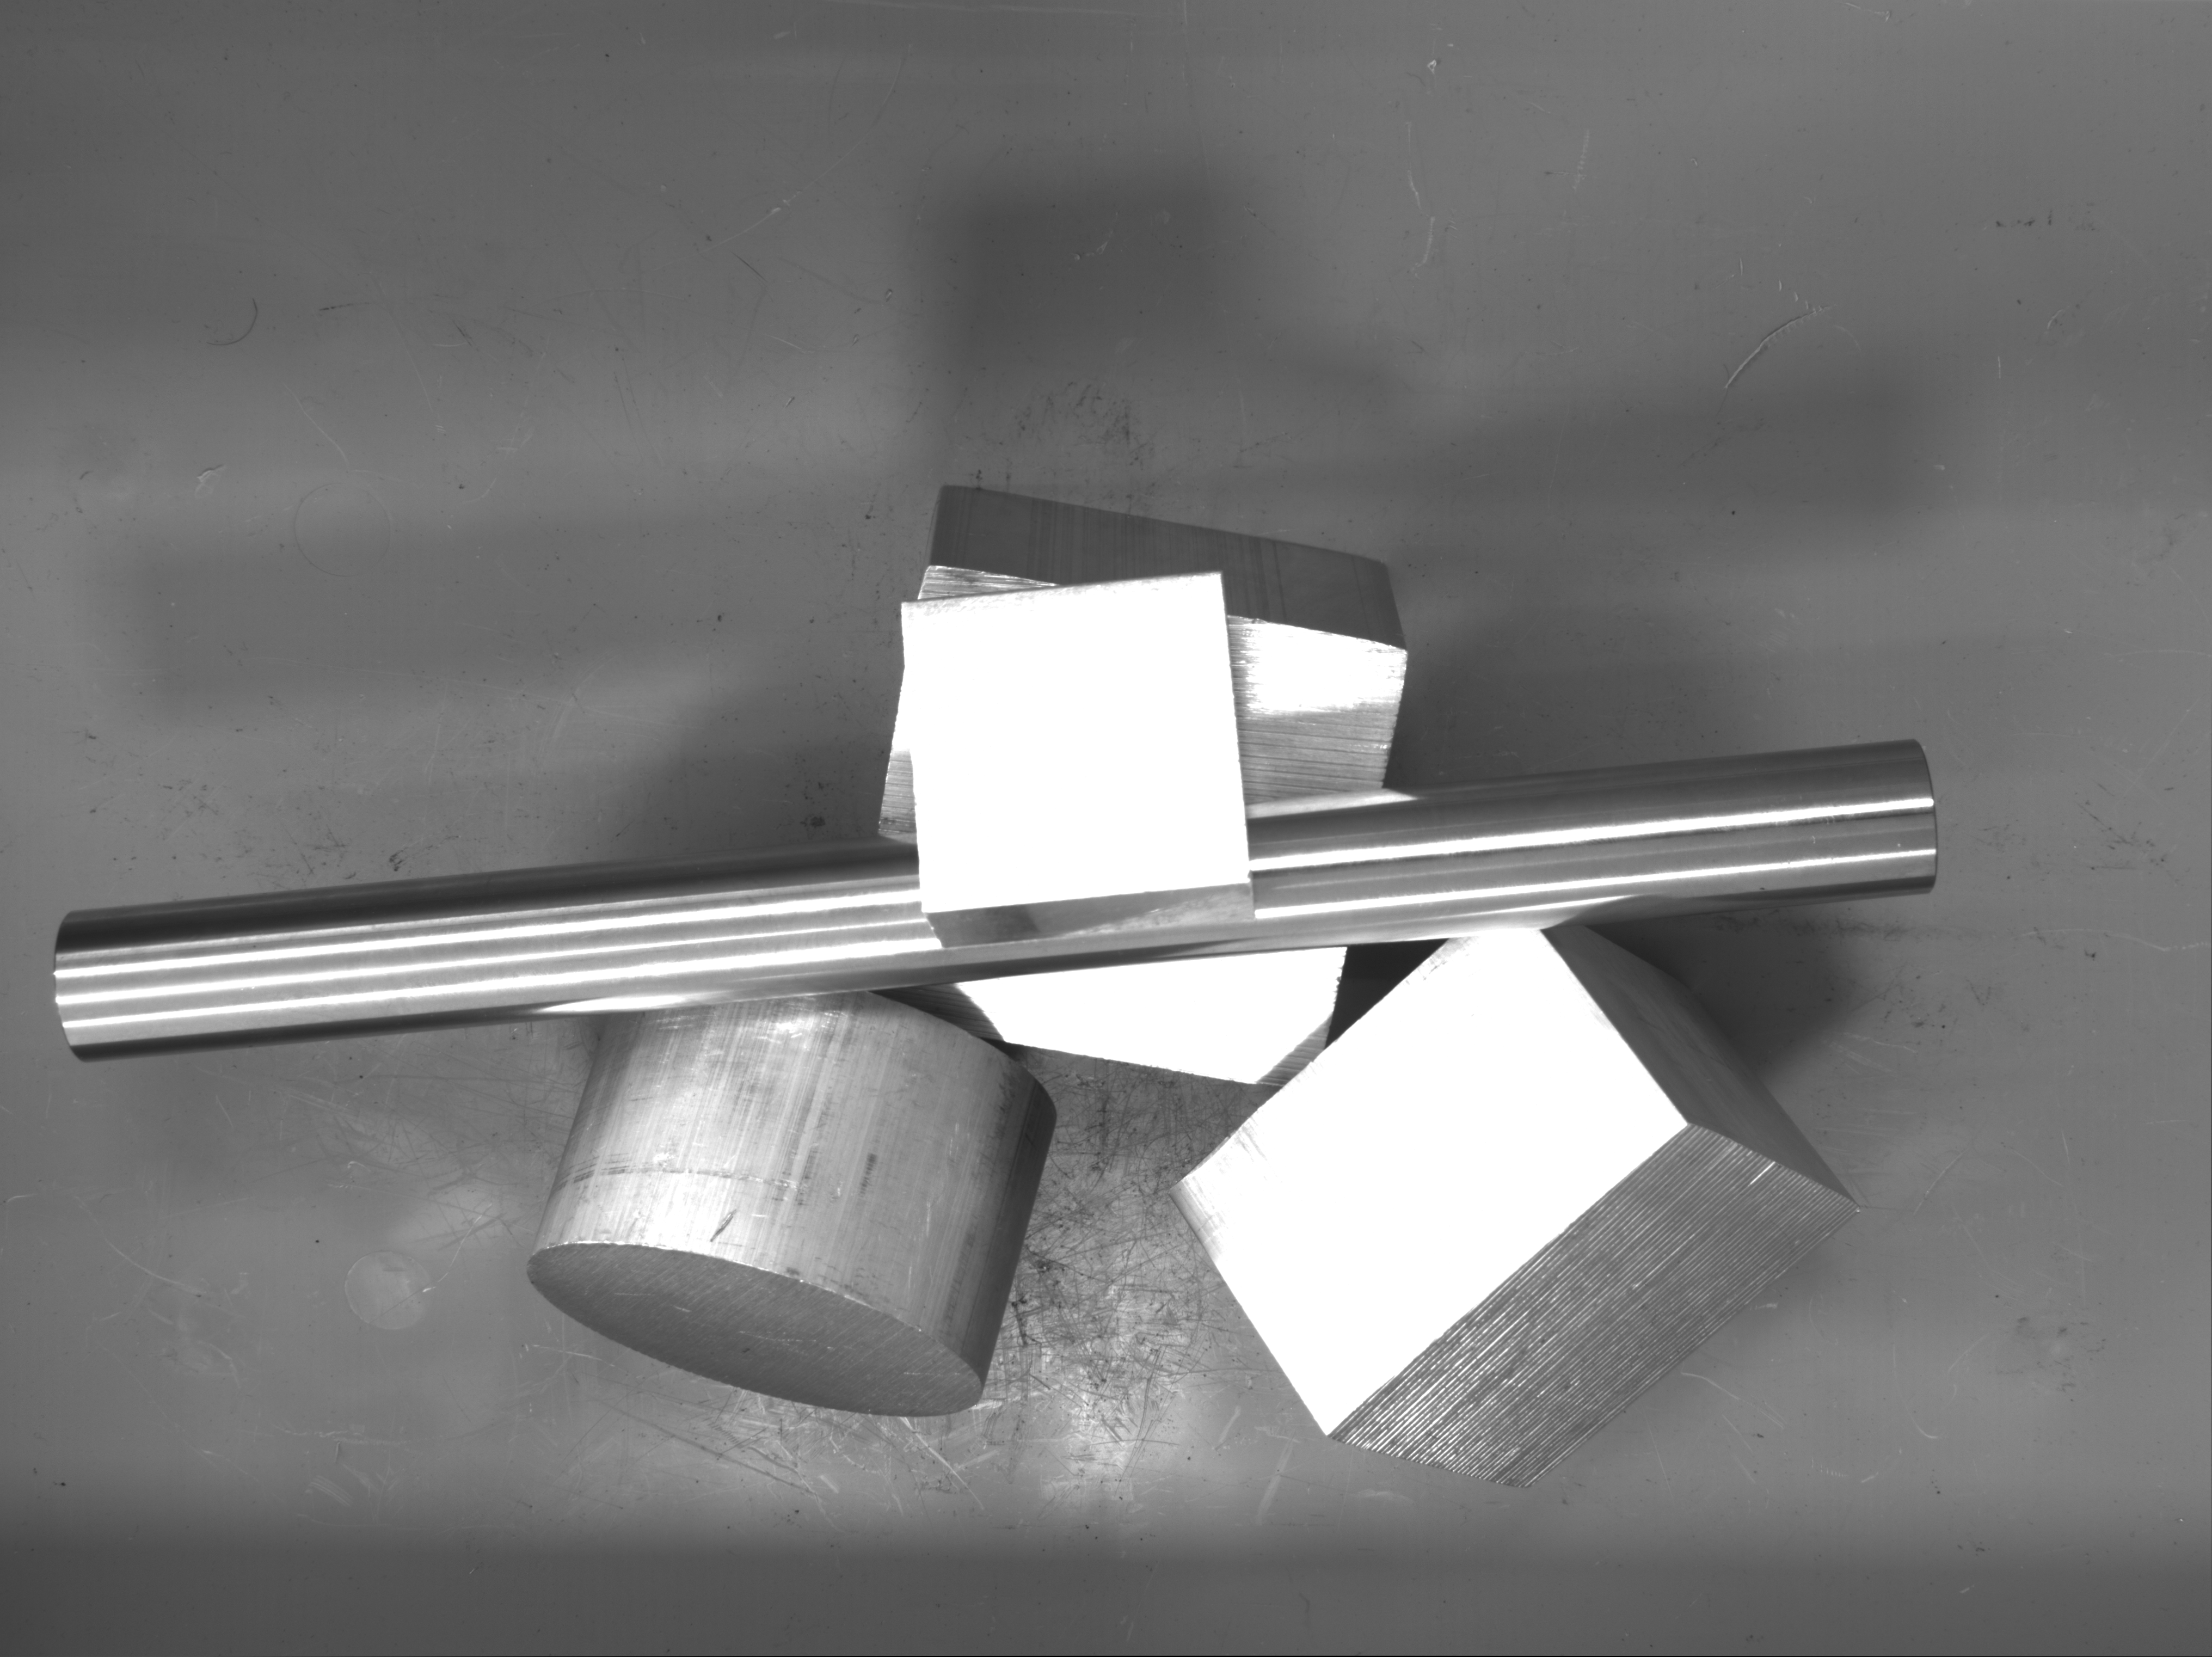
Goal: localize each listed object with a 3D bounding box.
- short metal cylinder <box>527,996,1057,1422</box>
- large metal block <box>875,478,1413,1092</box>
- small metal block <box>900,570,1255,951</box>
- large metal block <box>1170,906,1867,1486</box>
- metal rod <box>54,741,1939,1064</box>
[{"bbox_3d":[-0.053,0.064,0.630,0.080,0.080,0.050,18,66,-6],"label":"short metal cylinder"},{"bbox_3d":[0.003,-0.008,0.626,0.080,0.050,0.080,10,110,-4],"label":"large metal block"},{"bbox_3d":[-0.004,-0.010,0.573,0.050,0.025,0.050,-5,75,2],"label":"small metal block"},{"bbox_3d":[0.072,0.064,0.630,0.080,0.050,0.080,-43,148,14],"label":"large metal block"},{"bbox_3d":[-0.018,0.012,0.594,0.300,0.025,0.025,-5,110,2],"label":"metal rod"}]
